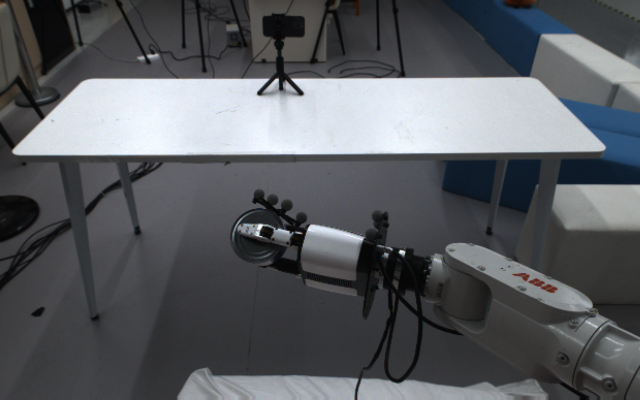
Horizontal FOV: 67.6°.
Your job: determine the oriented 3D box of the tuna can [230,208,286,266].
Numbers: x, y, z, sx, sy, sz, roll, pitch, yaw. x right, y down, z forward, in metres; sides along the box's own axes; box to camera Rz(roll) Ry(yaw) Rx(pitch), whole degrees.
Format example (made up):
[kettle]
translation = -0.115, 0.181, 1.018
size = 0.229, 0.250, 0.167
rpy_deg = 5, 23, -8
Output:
[tuna can]
translation = -0.091, 0.059, 0.744
size = 0.085, 0.034, 0.085
rpy_deg = -2, 71, 6
